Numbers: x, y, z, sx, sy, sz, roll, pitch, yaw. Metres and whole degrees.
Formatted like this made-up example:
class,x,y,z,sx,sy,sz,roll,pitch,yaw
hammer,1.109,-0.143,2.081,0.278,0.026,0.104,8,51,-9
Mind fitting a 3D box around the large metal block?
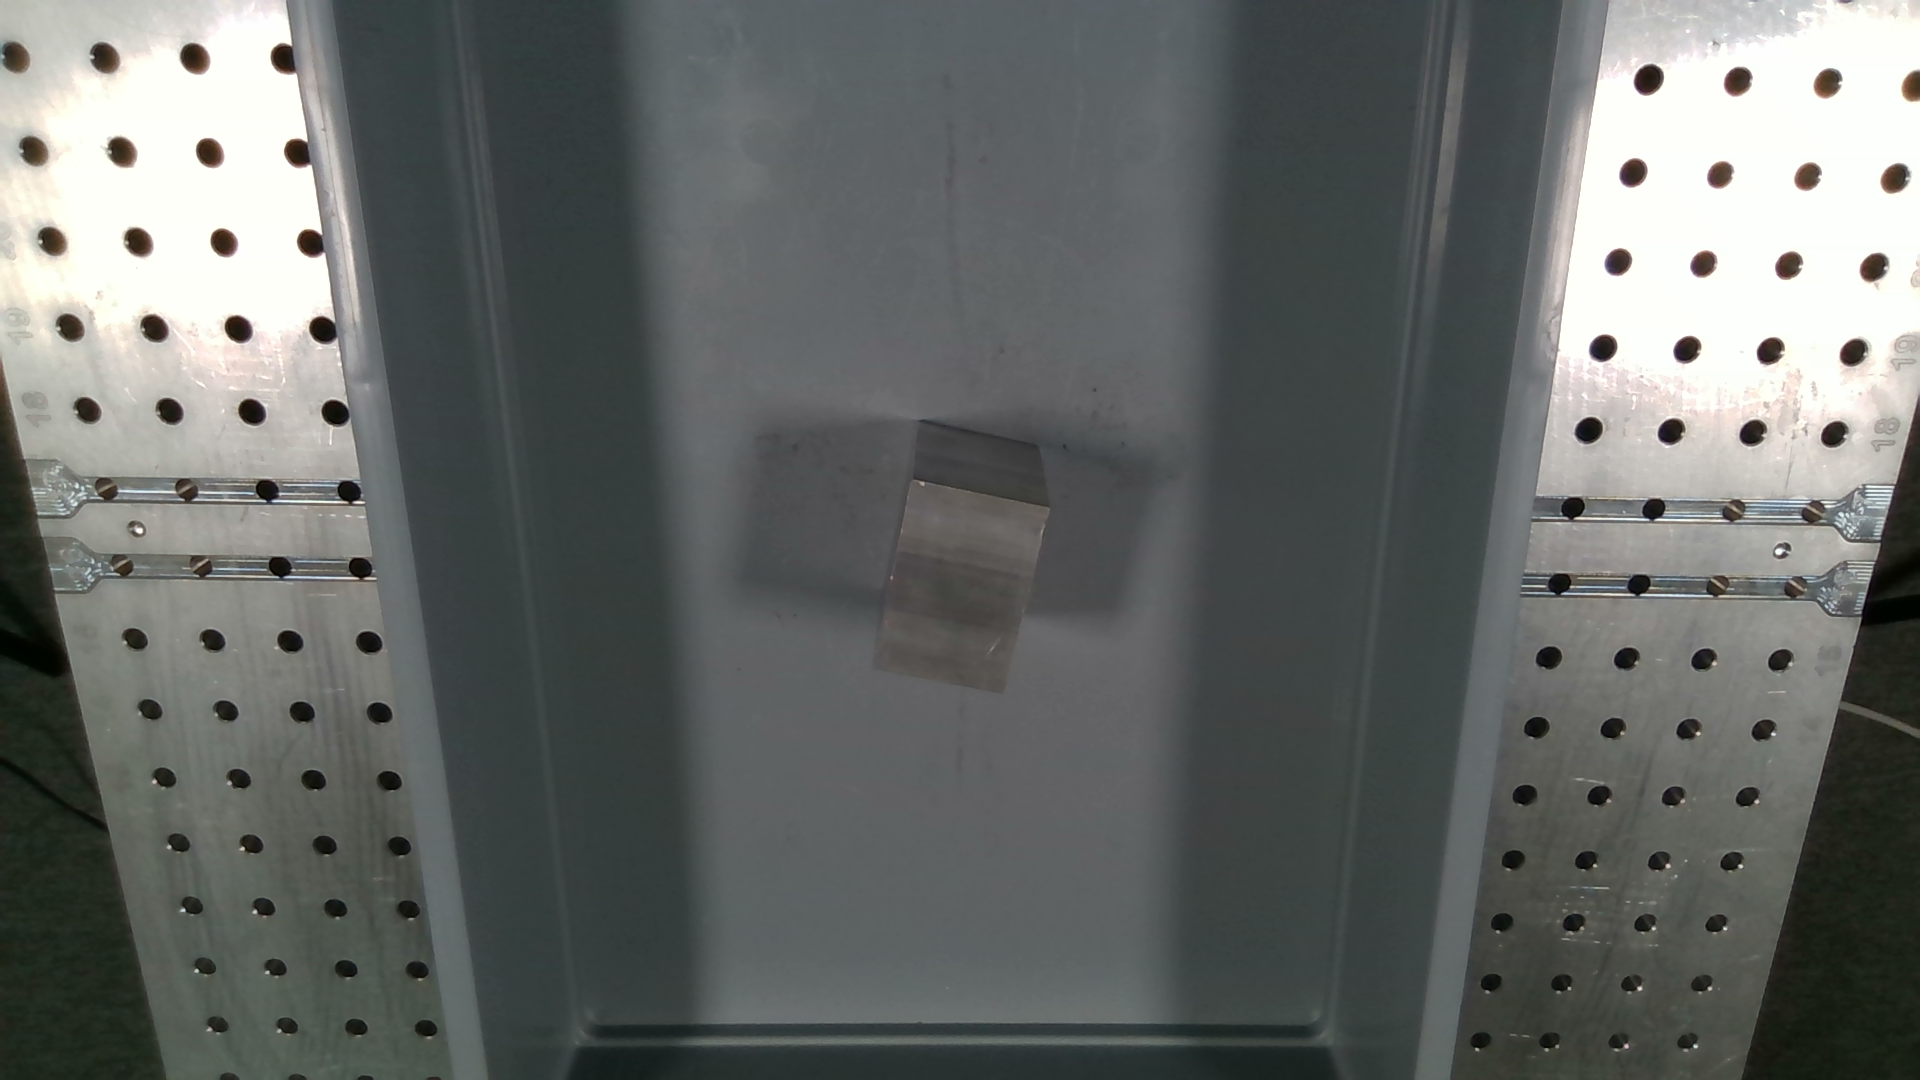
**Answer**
class,x,y,z,sx,sy,sz,roll,pitch,yaw
large metal block,-0.001,0.005,0.555,0.050,0.080,0.080,11,110,-4
